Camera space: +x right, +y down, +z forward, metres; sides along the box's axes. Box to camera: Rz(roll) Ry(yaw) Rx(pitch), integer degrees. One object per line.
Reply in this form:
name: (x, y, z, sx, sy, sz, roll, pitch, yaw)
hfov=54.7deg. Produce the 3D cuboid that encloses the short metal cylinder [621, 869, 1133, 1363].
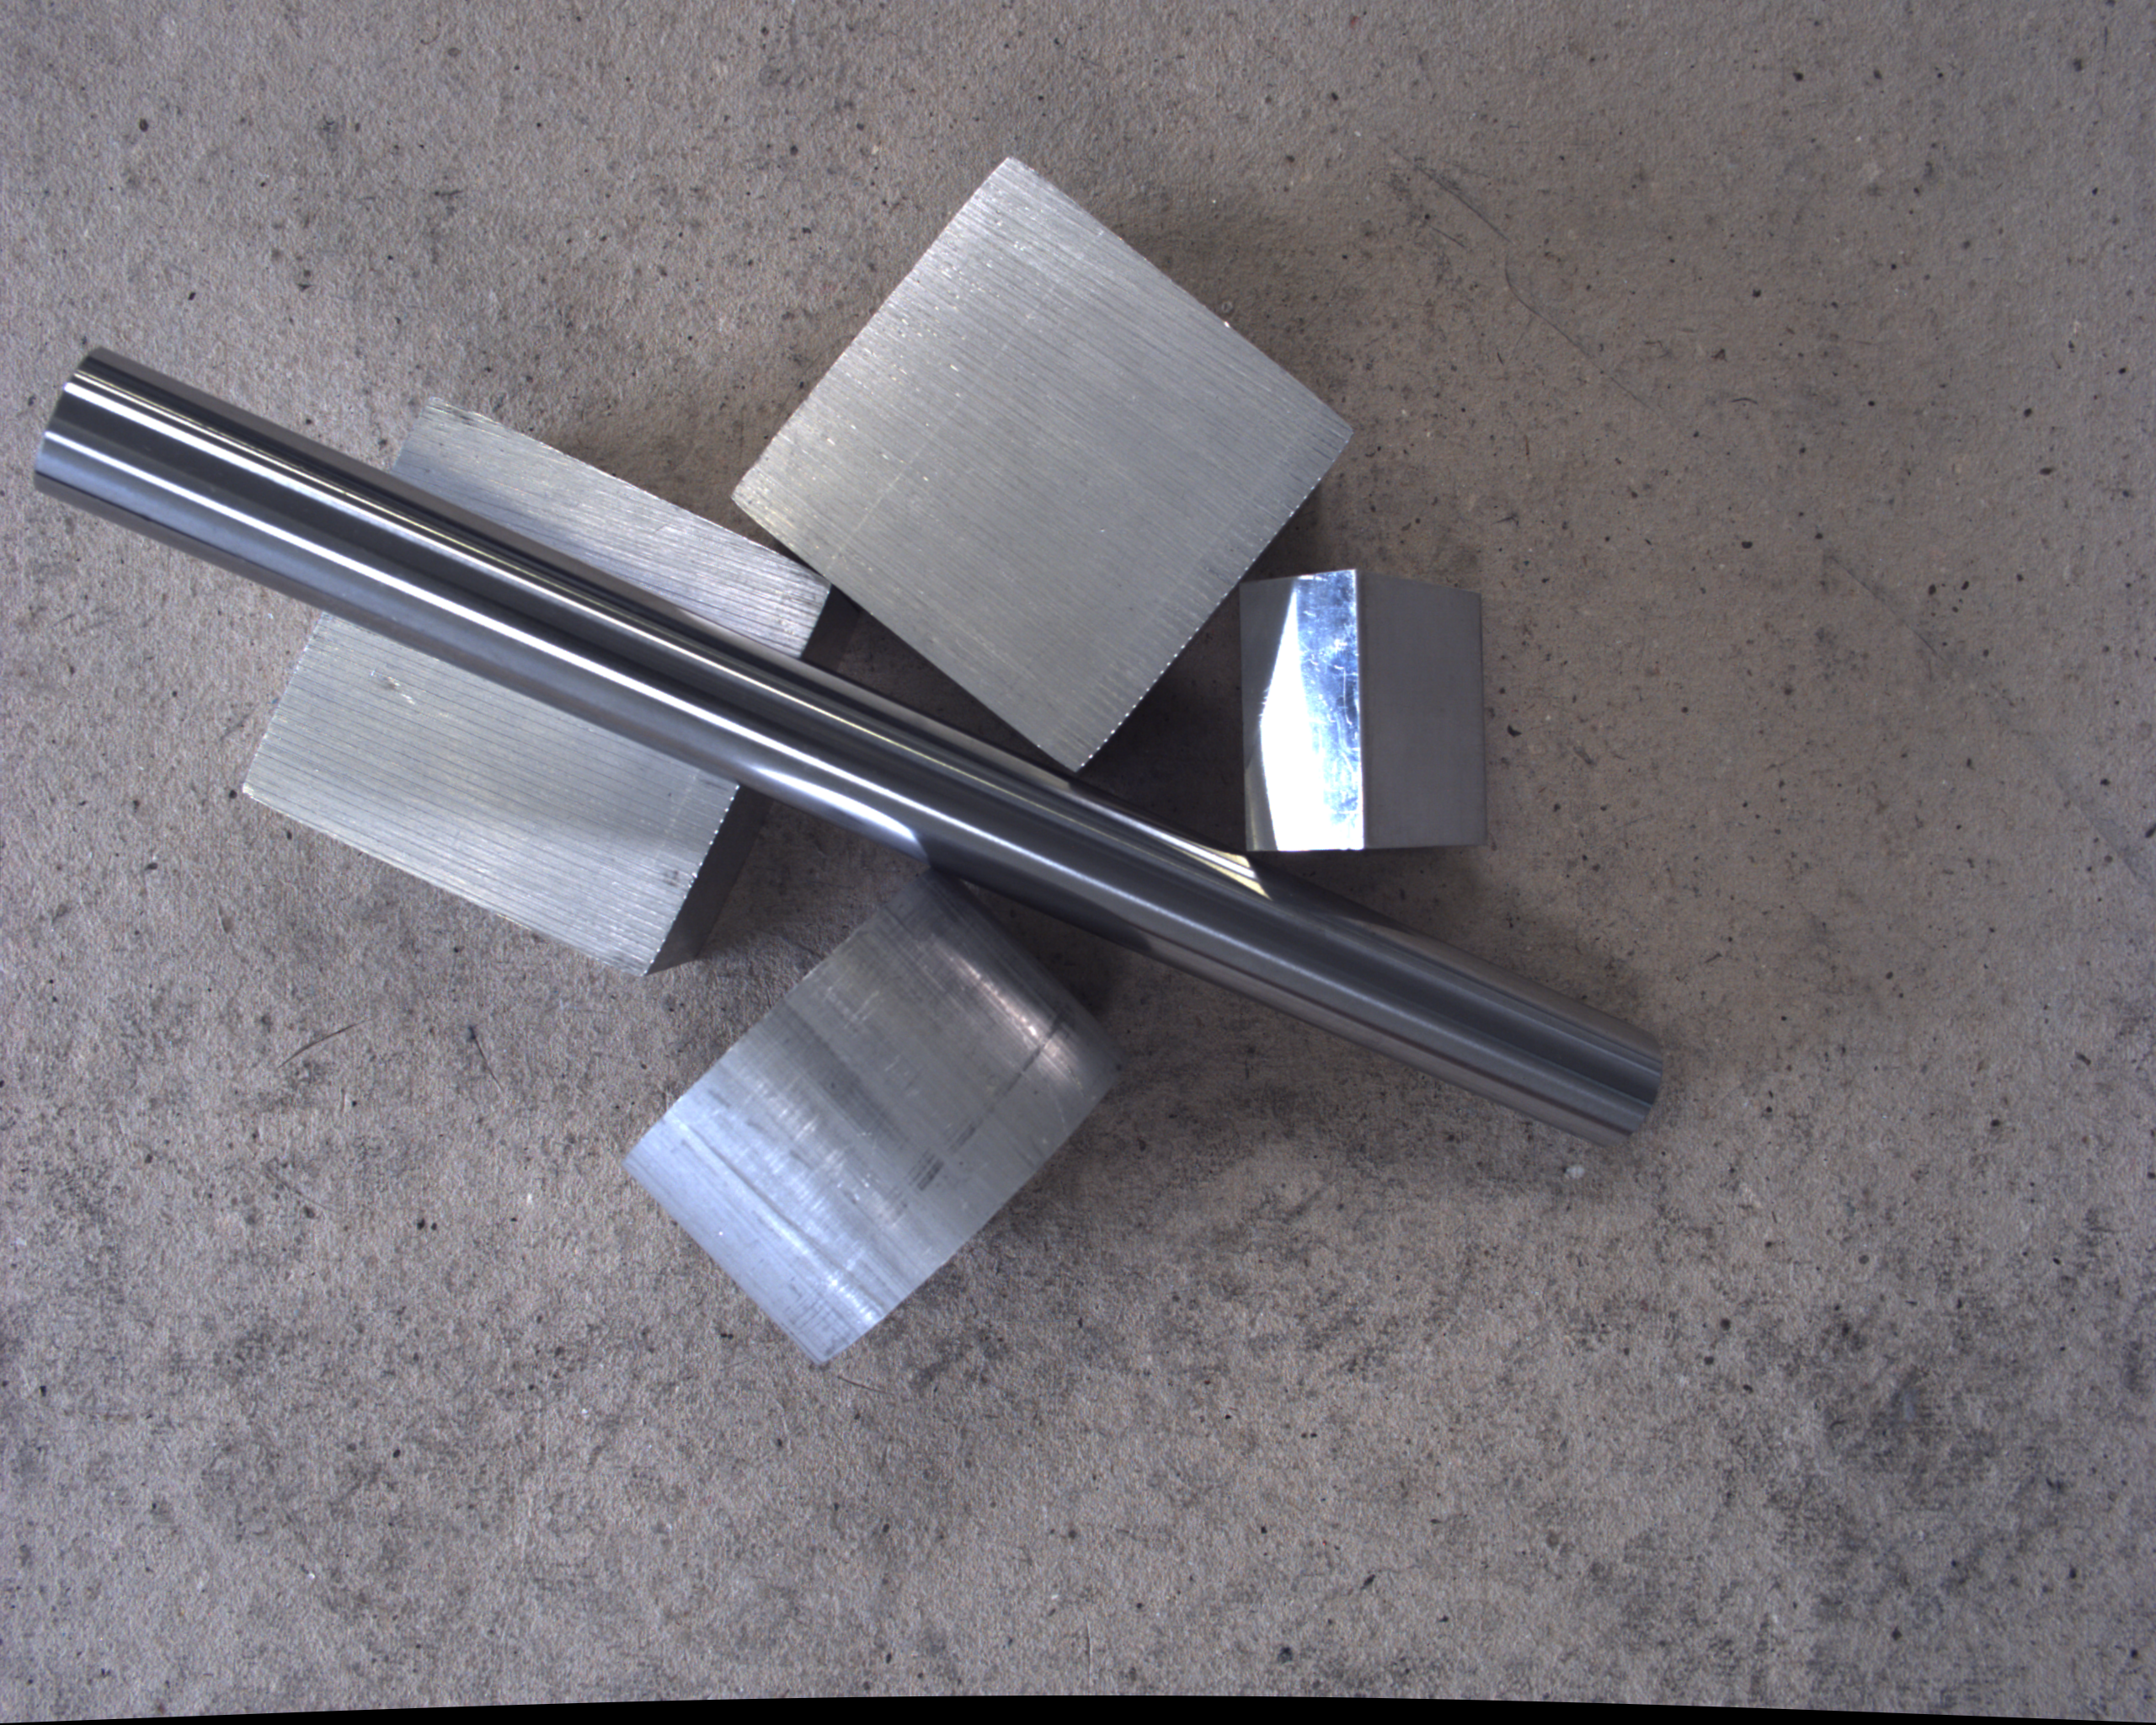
short metal cylinder: (-0.036, 0.045, 0.383, 0.080, 0.080, 0.050, -44, 90, 0)

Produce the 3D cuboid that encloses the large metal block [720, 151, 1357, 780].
large metal block: (-0.007, -0.071, 0.396, 0.080, 0.050, 0.080, 39, 90, 0)

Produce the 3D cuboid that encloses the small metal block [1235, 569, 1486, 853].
small metal block: (0.054, -0.028, 0.397, 0.025, 0.050, 0.050, -2, 90, 36)

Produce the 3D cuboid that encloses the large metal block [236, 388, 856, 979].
large metal block: (-0.097, -0.032, 0.398, 0.080, 0.050, 0.080, 25, 90, 0)

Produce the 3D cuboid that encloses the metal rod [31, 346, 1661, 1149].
metal rod: (-0.026, -0.012, 0.370, 0.302, 0.025, 0.025, 23, 90, -17)
